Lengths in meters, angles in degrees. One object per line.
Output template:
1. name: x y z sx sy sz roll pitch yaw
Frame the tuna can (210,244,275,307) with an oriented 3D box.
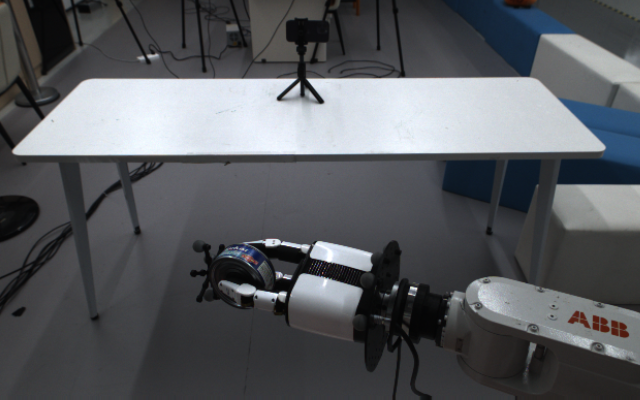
1. tuna can: -0.102 0.101 0.645 0.085 0.085 0.034 12 28 14
